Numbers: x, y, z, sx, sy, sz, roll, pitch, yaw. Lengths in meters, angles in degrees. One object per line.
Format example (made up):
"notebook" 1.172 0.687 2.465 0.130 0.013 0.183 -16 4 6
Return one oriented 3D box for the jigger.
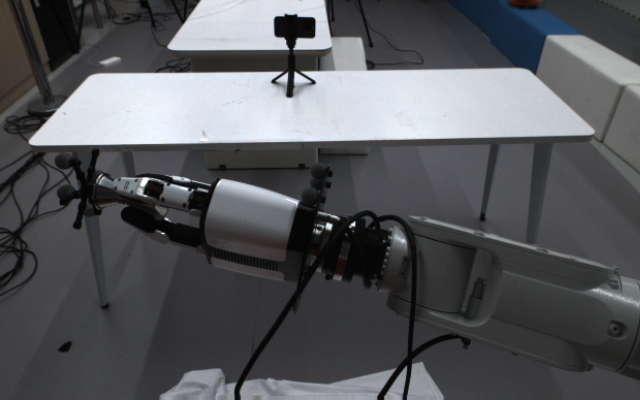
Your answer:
"jigger" -0.196 -0.008 0.524 0.071 0.043 0.043 8 35 2
